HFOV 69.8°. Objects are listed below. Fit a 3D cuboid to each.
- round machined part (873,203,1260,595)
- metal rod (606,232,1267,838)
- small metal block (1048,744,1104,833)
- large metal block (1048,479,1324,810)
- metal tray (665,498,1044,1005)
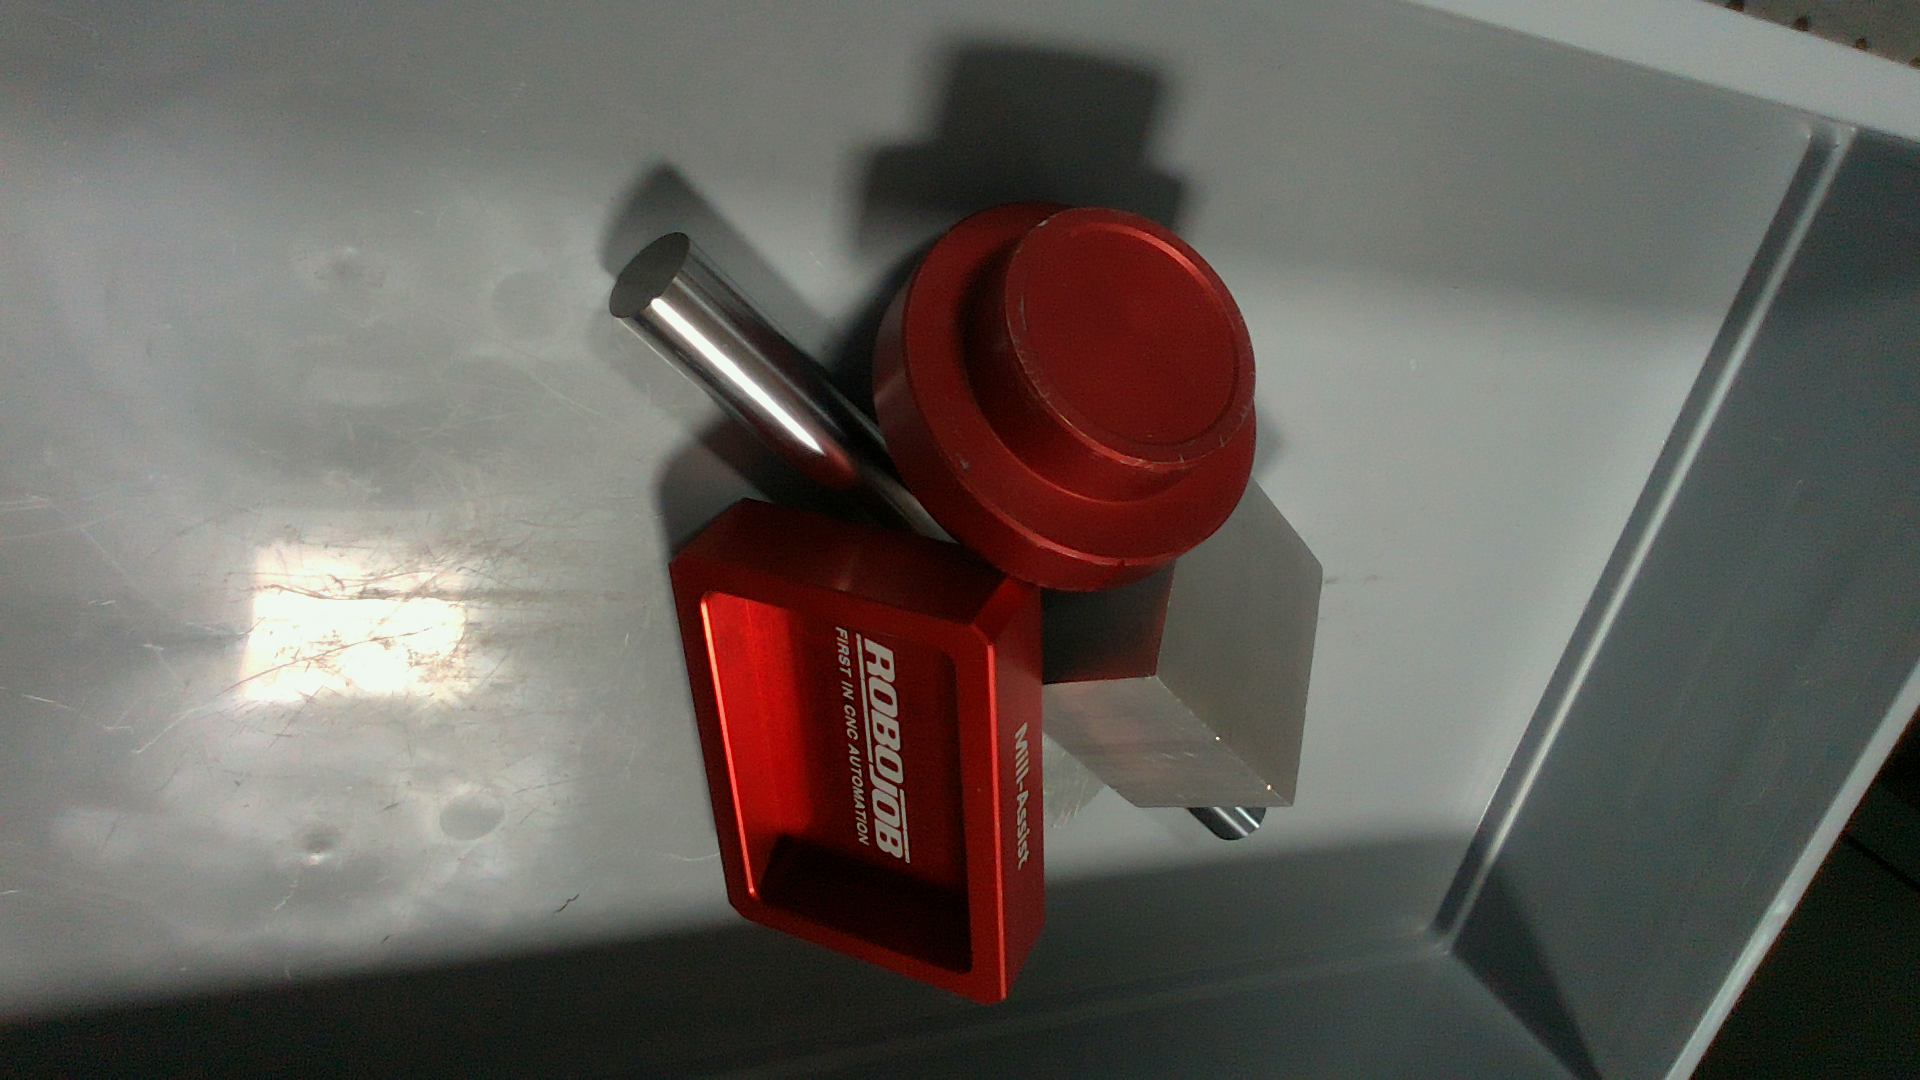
[{"bbox_3d":[0.032,-0.040,0.331,0.098,0.098,0.042,-2,160,-27],"label":"round machined part"},{"bbox_3d":[0.015,0.019,0.407,0.025,0.025,0.301,-45,129,3],"label":"metal rod"},{"bbox_3d":[0.015,0.053,0.412,0.025,0.050,0.050,-44,129,2],"label":"small metal block"},{"bbox_3d":[0.060,0.023,0.393,0.080,0.050,0.080,43,51,-39],"label":"large metal block"},{"bbox_3d":[-0.025,0.059,0.370,0.030,0.090,0.130,-50,145,-49],"label":"metal tray"}]
